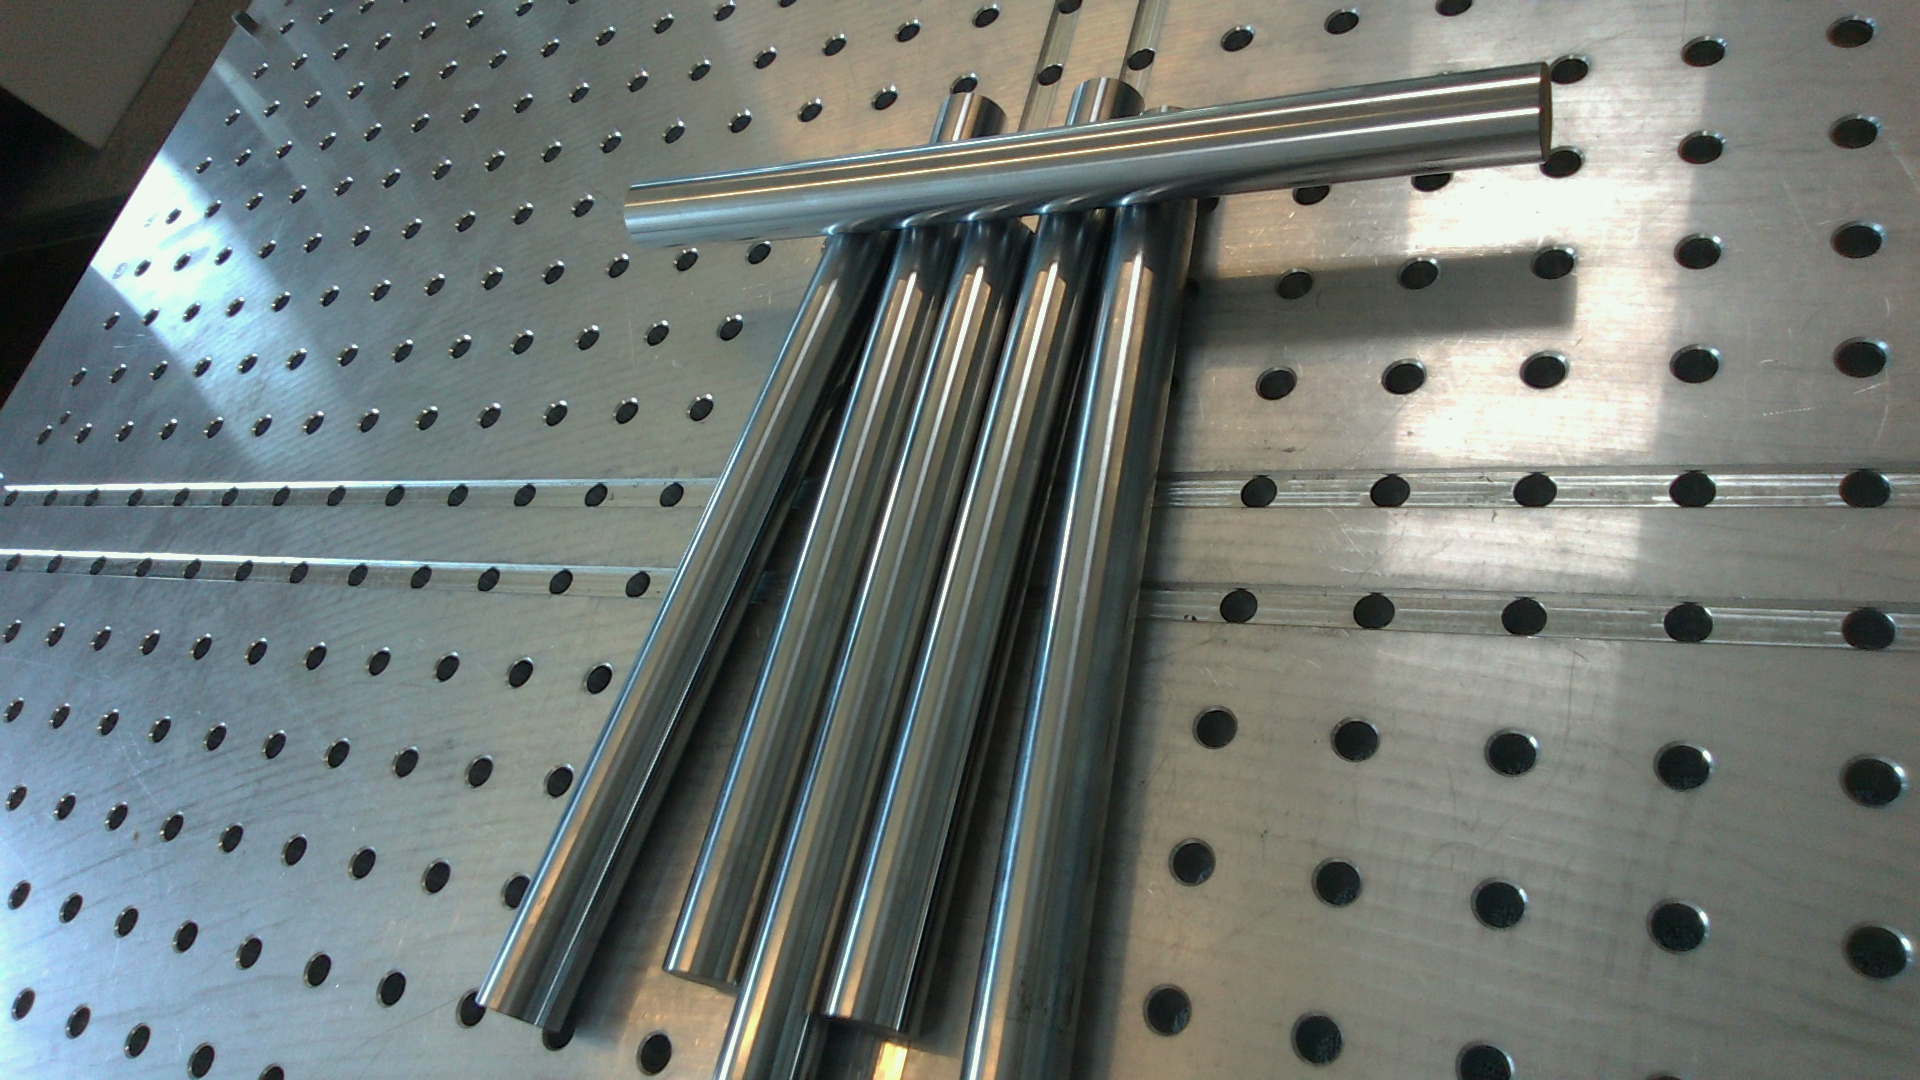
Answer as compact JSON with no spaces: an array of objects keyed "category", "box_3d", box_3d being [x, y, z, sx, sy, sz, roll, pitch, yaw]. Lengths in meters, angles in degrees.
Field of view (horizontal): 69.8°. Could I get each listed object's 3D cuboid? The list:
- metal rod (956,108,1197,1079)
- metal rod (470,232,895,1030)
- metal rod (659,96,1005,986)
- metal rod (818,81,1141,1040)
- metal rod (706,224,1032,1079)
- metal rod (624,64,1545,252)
[{"category":"metal rod","box_3d":[0.038,0.003,0.375,0.025,0.025,0.300,-2,60,27]},{"category":"metal rod","box_3d":[-0.073,0.000,0.435,0.025,0.025,0.300,7,65,32]},{"category":"metal rod","box_3d":[-0.031,-0.016,0.424,0.025,0.025,0.300,1,62,29]},{"category":"metal rod","box_3d":[0.013,-0.013,0.399,0.025,0.025,0.300,1,62,29]},{"category":"metal rod","box_3d":[-0.023,0.033,0.388,0.025,0.025,0.300,1,62,29]},{"category":"metal rod","box_3d":[0.017,-0.113,0.424,0.299,0.025,0.025,2,62,29]}]
